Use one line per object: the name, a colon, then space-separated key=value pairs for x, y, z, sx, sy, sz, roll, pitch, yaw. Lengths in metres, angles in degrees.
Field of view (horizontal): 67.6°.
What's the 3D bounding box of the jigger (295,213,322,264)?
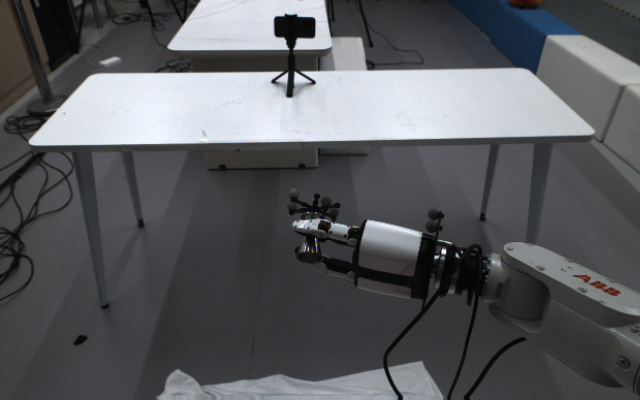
jigger: x=-0.014 y=0.055 z=0.742 sx=0.043 sy=0.043 sz=0.071 roll=4 pitch=60 yaw=2
